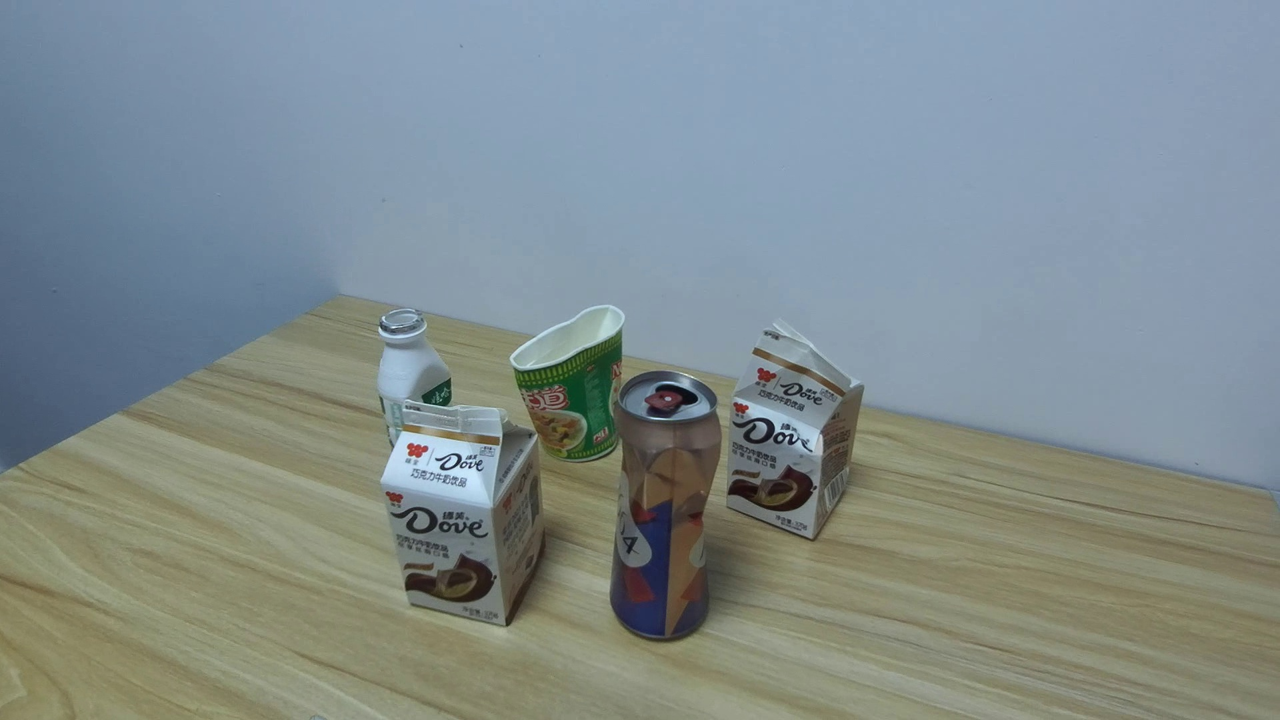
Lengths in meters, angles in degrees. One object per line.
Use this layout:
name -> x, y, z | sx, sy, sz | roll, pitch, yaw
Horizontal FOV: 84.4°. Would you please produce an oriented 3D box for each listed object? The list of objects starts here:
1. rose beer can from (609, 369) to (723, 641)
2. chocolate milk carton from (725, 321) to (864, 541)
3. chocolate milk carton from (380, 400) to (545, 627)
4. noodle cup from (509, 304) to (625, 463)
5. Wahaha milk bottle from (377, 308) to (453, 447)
rose beer can -> 0.016, 0.091, 0.429 | 0.065, 0.167, 0.075 | 2, 27, 0
chocolate milk carton -> 0.114, 0.044, 0.515 | 0.076, 0.156, 0.074 | 19, 38, 28
chocolate milk carton -> -0.110, 0.088, 0.453 | 0.075, 0.148, 0.074 | 8, 33, 12
noodle cup -> -0.056, 0.025, 0.601 | 0.115, 0.111, 0.070 | -19, 35, -30
Wahaha milk bottle -> -0.173, 0.031, 0.551 | 0.056, 0.148, 0.056 | 2, 31, -1
